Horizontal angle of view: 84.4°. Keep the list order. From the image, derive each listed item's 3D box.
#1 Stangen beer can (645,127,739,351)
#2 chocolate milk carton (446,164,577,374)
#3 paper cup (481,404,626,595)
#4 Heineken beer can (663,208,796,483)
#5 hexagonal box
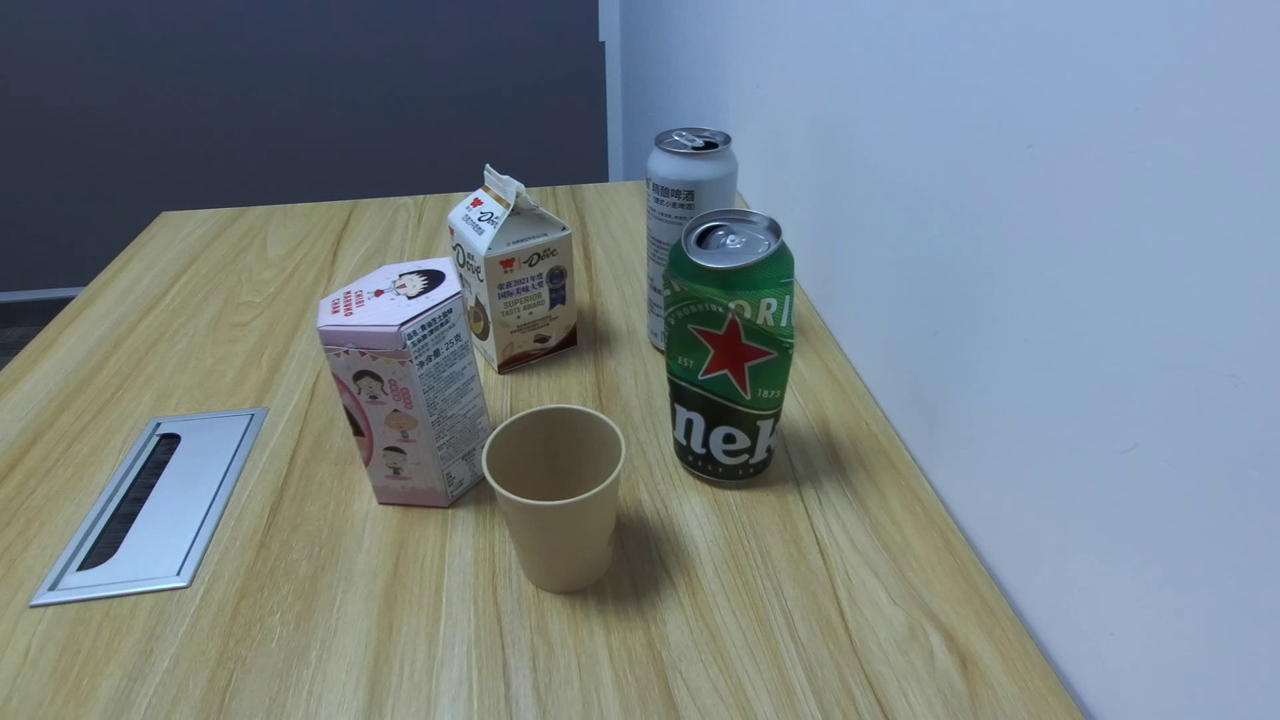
[{"bbox_3d":[0.039,-0.087,0.546,0.067,0.171,0.067,-1,36,1],"label":"Stangen beer can"},{"bbox_3d":[-0.098,-0.076,0.548,0.074,0.148,0.075,-20,41,-25],"label":"chocolate milk carton"},{"bbox_3d":[-0.043,0.080,0.388,0.075,0.082,0.075,0,36,0],"label":"paper cup"},{"bbox_3d":[0.052,-0.001,0.424,0.069,0.168,0.068,-9,38,-6],"label":"Heineken beer can"},{"bbox_3d":[-0.137,0.015,0.436,0.085,0.135,0.091,-14,37,-17],"label":"hexagonal box"}]
